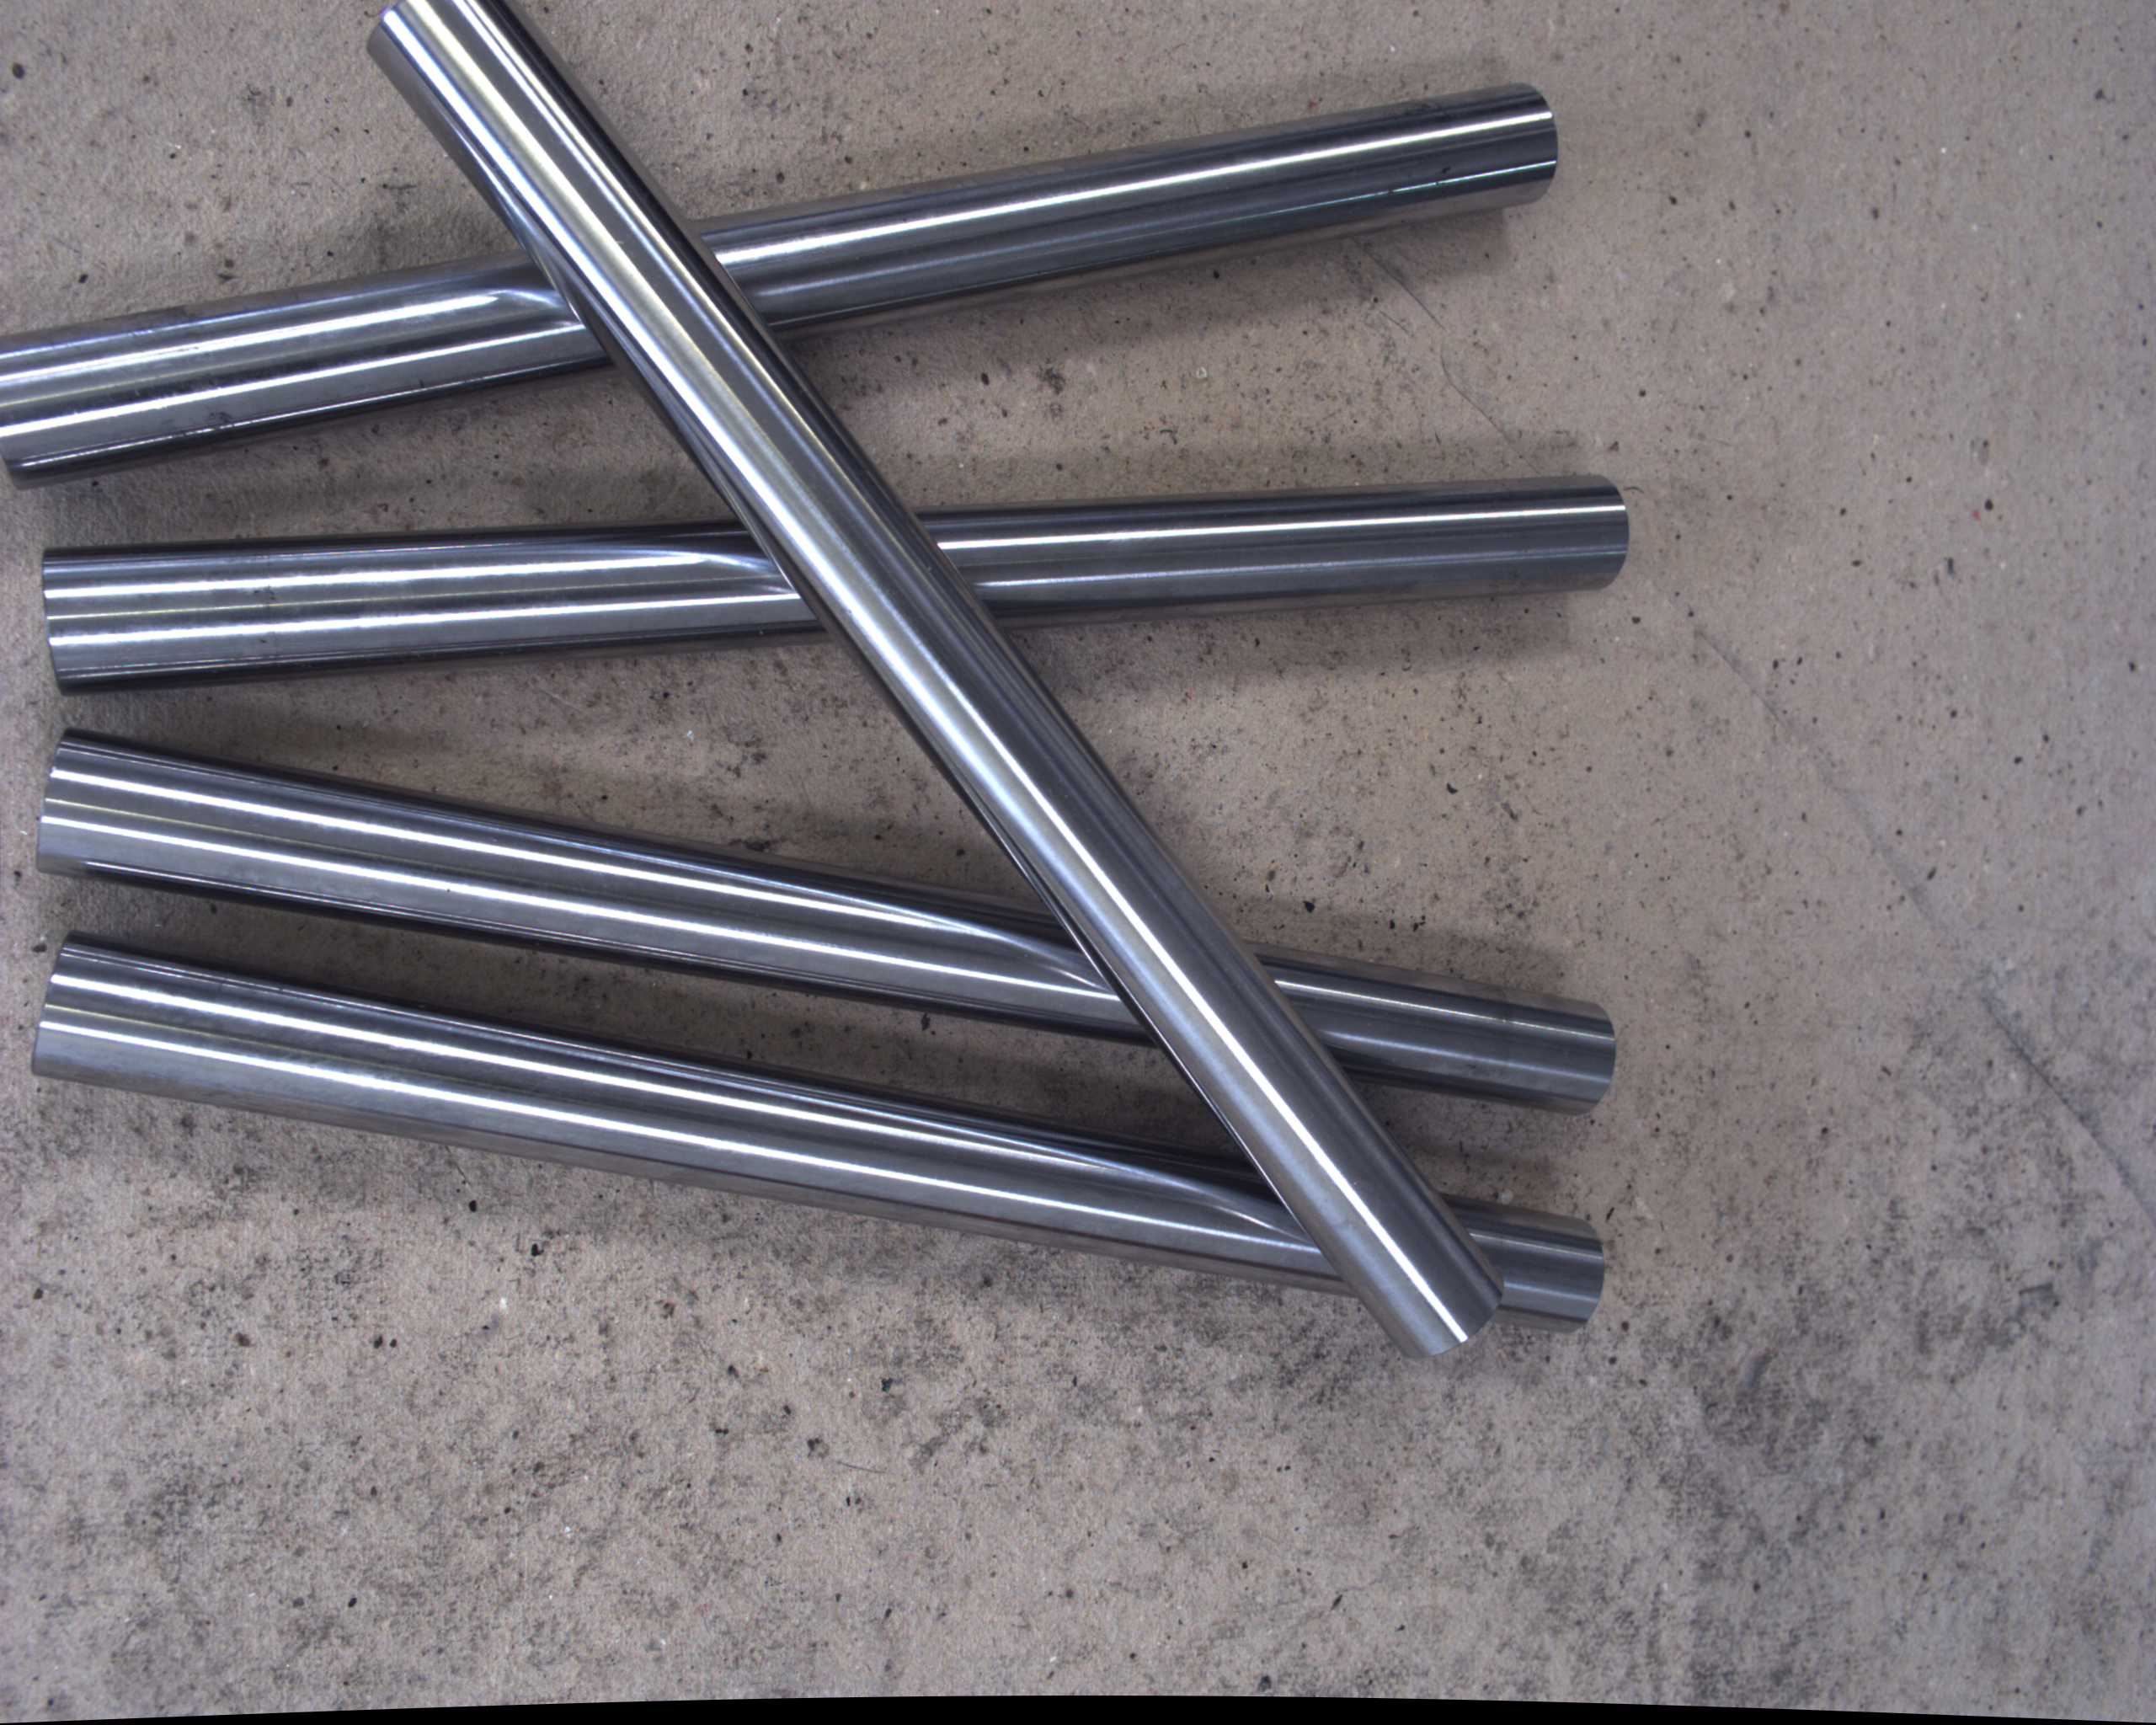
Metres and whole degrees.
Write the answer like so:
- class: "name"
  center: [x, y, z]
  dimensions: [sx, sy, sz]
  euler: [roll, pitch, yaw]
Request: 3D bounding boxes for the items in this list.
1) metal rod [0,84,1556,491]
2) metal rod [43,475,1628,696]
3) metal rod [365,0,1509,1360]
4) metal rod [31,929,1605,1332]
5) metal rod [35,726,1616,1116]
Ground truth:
- class: "metal rod"
  center: [-0.042, -0.114, 0.395]
  dimensions: [0.302, 0.025, 0.025]
  euler: [-16, 96, -20]
- class: "metal rod"
  center: [-0.029, -0.056, 0.400]
  dimensions: [0.303, 0.025, 0.025]
  euler: [-6, 92, -20]
- class: "metal rod"
  center: [-0.017, -0.026, 0.377]
  dimensions: [0.025, 0.025, 0.300]
  euler: [-42, 103, -15]
- class: "metal rod"
  center: [-0.032, 0.056, 0.398]
  dimensions: [0.302, 0.025, 0.025]
  euler: [13, 86, -20]
- class: "metal rod"
  center: [-0.031, 0.016, 0.399]
  dimensions: [0.302, 0.025, 0.025]
  euler: [11, 87, -20]
